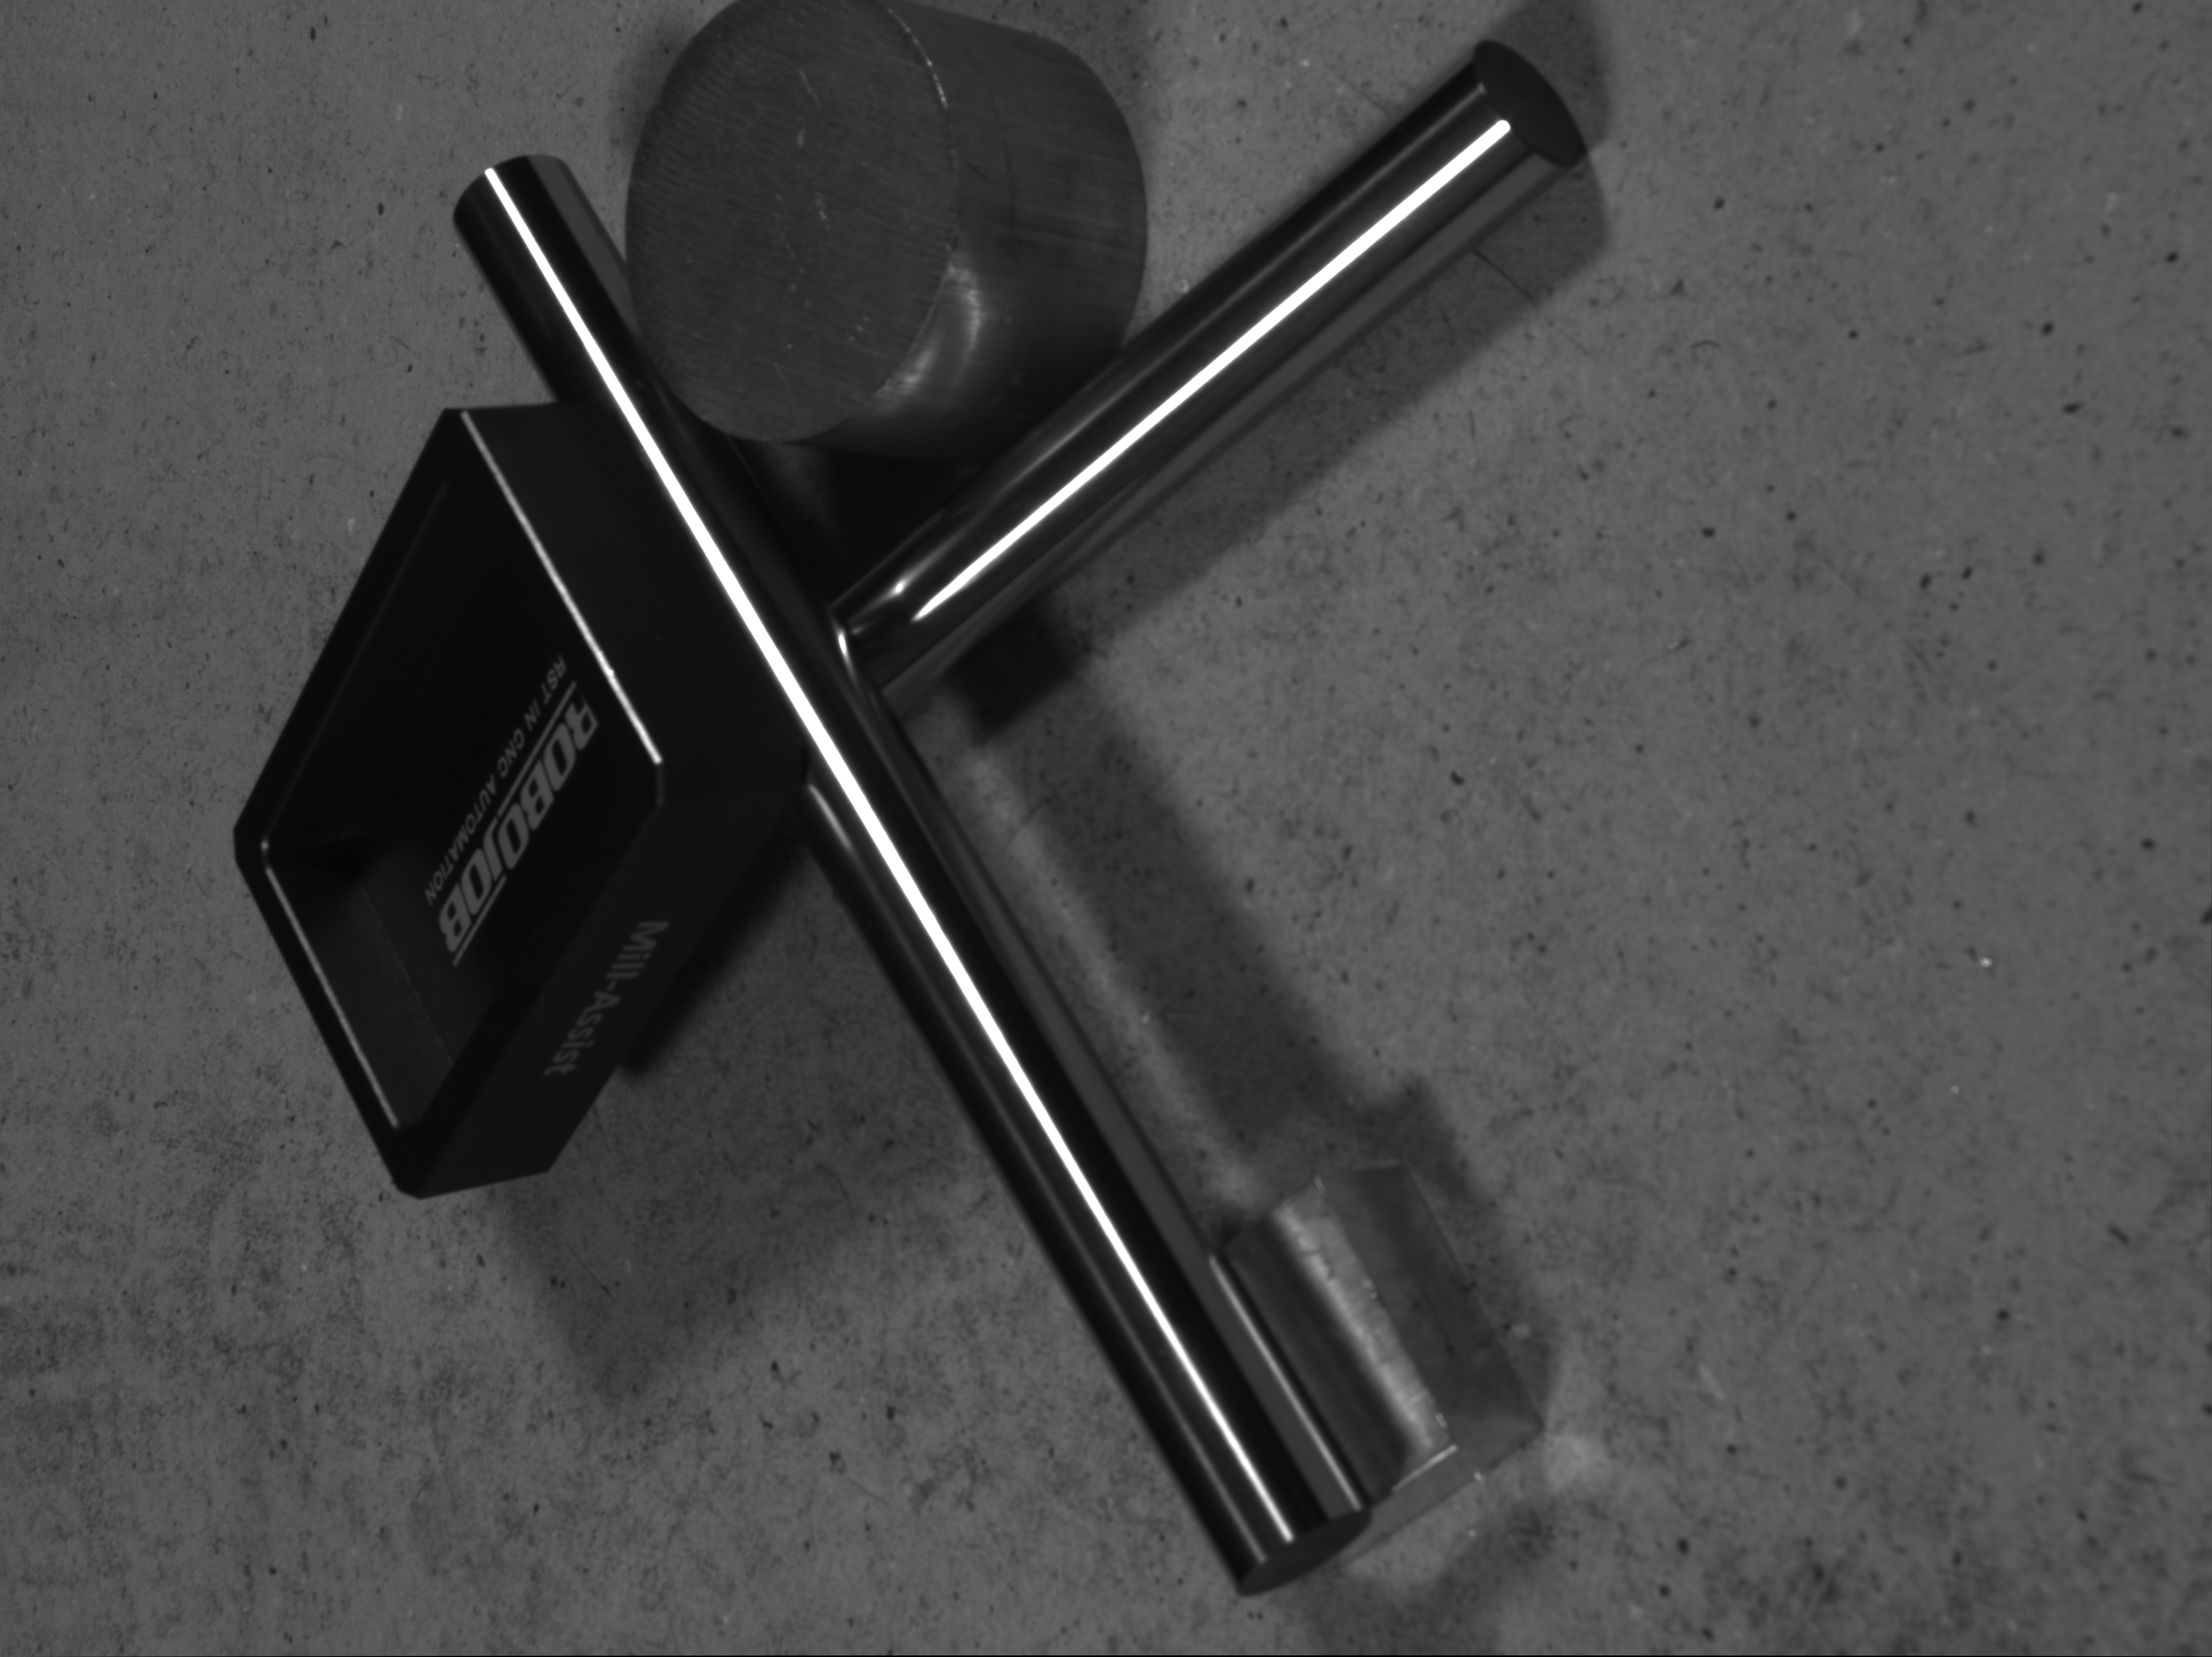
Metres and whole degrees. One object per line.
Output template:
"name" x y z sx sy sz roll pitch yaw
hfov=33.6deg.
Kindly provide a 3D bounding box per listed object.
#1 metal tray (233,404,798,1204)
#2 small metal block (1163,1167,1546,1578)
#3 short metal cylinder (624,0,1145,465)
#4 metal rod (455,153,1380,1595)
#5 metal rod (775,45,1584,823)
"metal tray" -0.113 -0.003 0.675 0.090 0.030 0.130 58 134 24
"small metal block" 0.037 0.091 0.606 0.050 0.025 0.050 -41 65 32
"short metal cylinder" -0.040 -0.106 0.652 0.080 0.050 0.080 0 90 39
"metal rod" -0.040 -0.003 0.637 0.025 0.025 0.300 -46 63 30
"metal rod" -0.033 -0.039 0.664 0.299 0.025 0.025 -37 68 33
